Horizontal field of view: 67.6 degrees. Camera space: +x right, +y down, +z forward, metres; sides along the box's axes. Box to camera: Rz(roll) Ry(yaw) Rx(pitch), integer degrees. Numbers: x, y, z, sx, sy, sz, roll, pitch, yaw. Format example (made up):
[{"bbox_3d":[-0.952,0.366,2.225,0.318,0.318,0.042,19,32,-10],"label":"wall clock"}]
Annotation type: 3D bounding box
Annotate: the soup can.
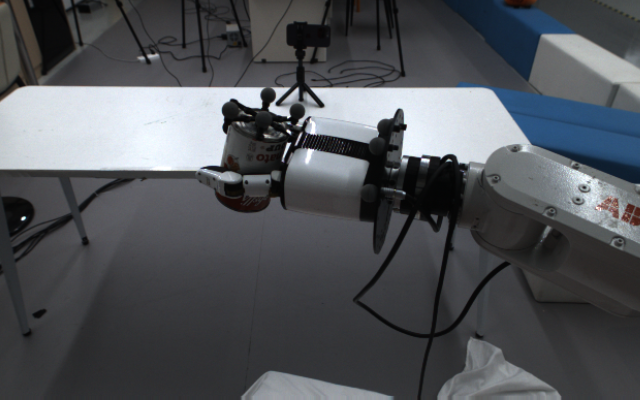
[{"bbox_3d":[-0.077,-0.044,0.553,0.067,0.101,0.067,14,35,-10],"label":"soup can"}]
